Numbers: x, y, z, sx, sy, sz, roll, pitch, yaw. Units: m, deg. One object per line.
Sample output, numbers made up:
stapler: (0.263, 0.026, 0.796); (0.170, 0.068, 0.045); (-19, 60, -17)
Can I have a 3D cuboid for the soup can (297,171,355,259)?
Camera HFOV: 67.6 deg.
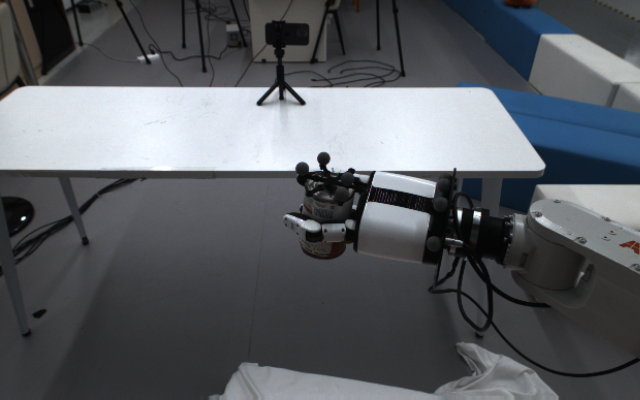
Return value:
soup can: (0.009, 0.022, 0.656); (0.067, 0.101, 0.067); (5, 36, -4)
